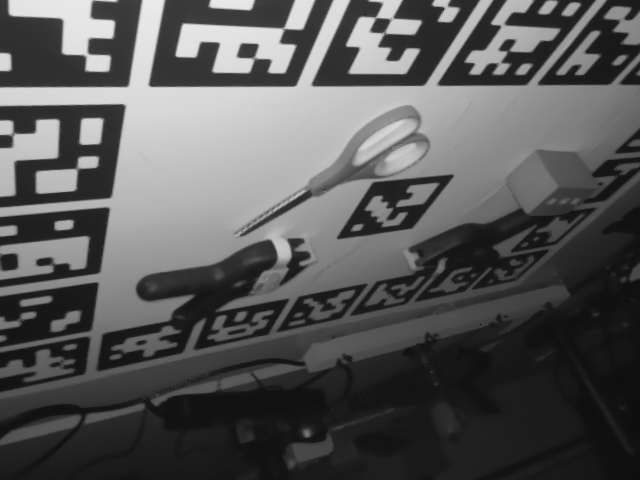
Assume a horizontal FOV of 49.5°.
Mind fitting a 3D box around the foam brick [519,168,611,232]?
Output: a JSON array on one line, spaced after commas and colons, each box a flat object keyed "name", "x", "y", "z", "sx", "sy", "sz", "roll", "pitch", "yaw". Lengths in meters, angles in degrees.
[{"name": "foam brick", "x": 0.279, "y": -0.046, "z": 0.789, "sx": 0.079, "sy": 0.051, "sz": 0.052, "roll": -6, "pitch": 145, "yaw": -37}]

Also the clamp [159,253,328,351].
[{"name": "clamp", "x": -0.070, "y": 0.056, "z": 0.725, "sx": 0.166, "sy": 0.036, "sz": 0.121, "roll": -22, "pitch": 144, "yaw": -4}]

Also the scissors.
[{"name": "scissors", "x": 0.030, "y": -0.037, "z": 0.649, "sx": 0.201, "sy": 0.016, "sz": 0.088, "roll": -31, "pitch": 142, "yaw": 17}]

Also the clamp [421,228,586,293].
[{"name": "clamp", "x": 0.220, "y": 0.031, "z": 0.883, "sx": 0.205, "sy": 0.037, "sz": 0.163, "roll": -8, "pitch": 150, "yaw": -24}]
